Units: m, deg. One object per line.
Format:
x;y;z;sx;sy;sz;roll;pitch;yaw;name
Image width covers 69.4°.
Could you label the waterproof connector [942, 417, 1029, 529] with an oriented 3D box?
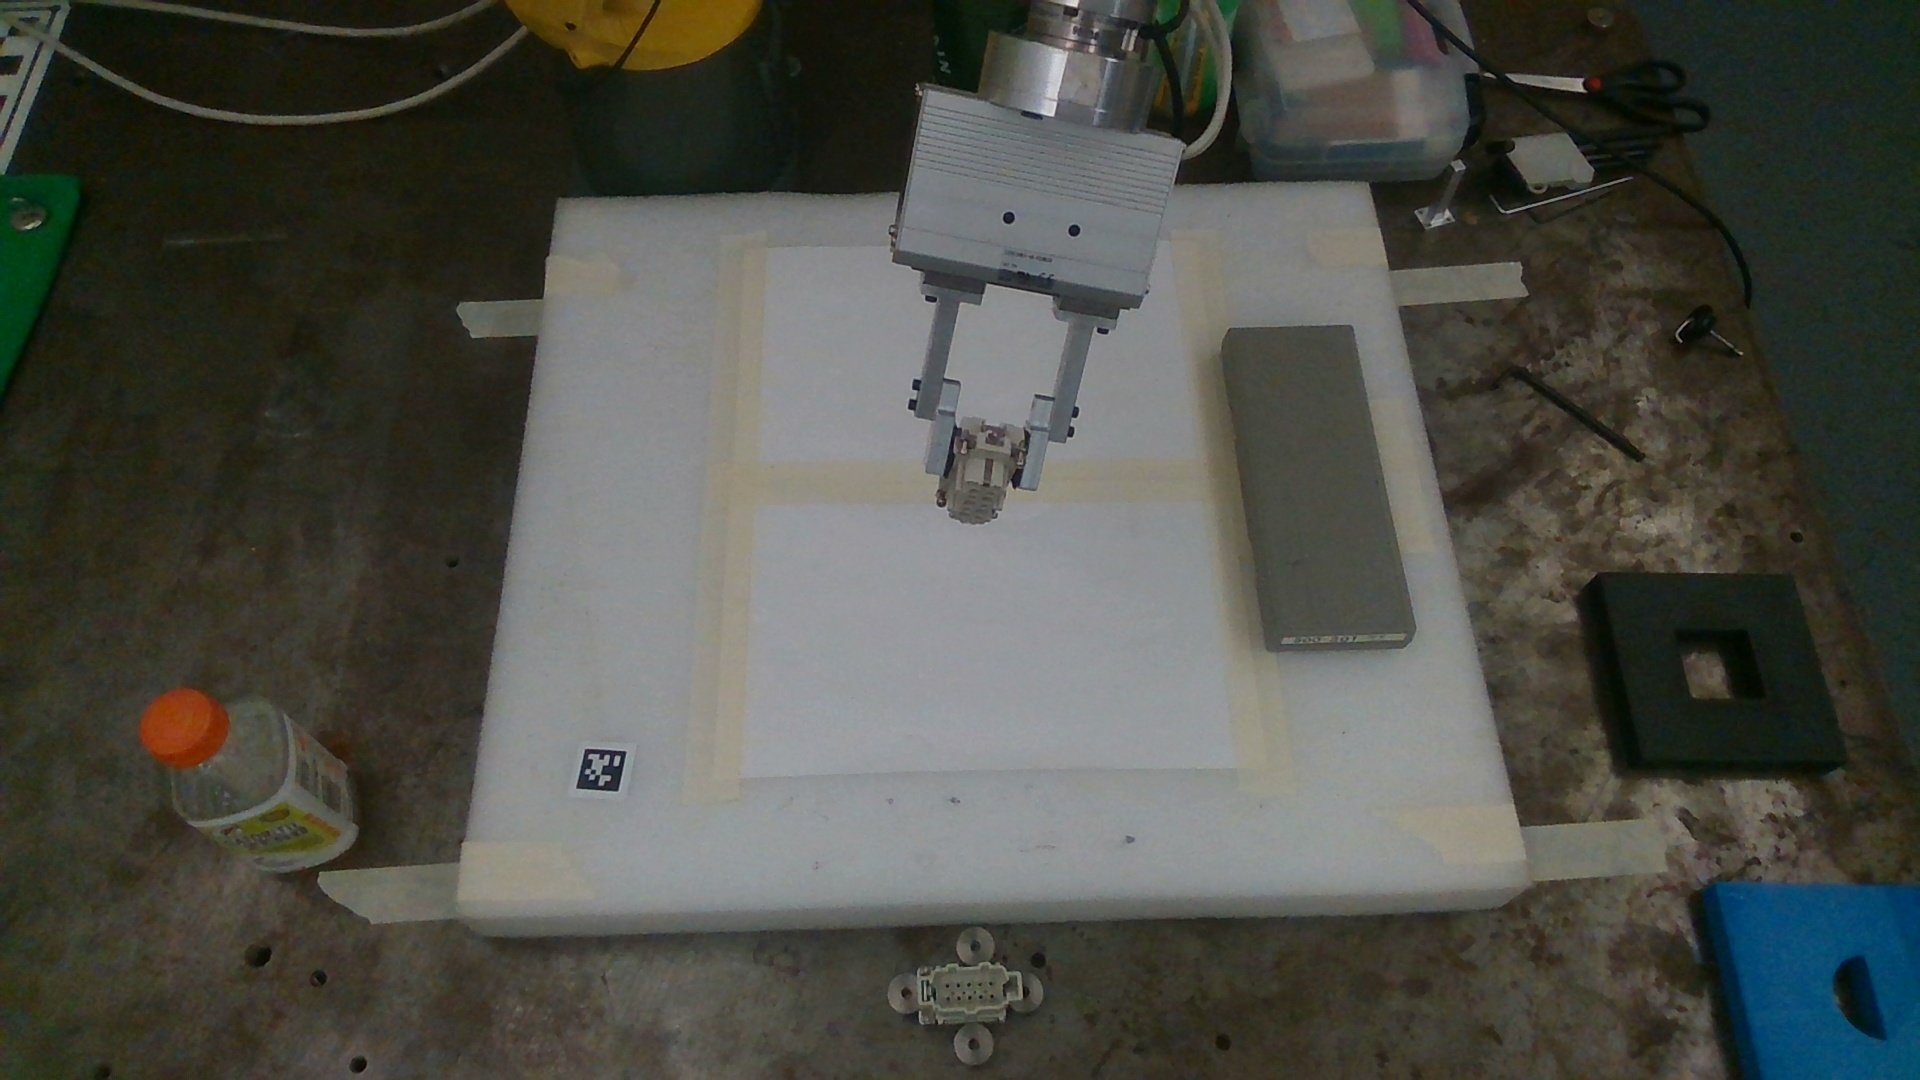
0.012;-0.033;0.696;0.037;0.069;0.038;9;66;-4;waterproof connector
